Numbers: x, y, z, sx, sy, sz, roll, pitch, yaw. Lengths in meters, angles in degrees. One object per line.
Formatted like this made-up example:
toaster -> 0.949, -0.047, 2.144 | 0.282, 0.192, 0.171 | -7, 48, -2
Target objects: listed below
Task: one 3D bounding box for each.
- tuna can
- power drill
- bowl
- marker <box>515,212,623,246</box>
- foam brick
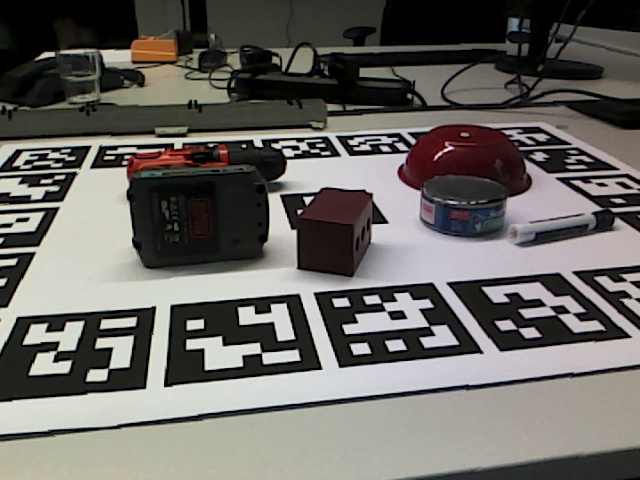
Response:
tuna can -> 0.153, -0.034, 0.634 | 0.086, 0.033, 0.086 | 3, 26, -2
power drill -> -0.112, -0.046, 0.632 | 0.184, 0.057, 0.188 | -1, 24, -13
bowl -> 0.177, -0.094, 0.757 | 0.162, 0.055, 0.162 | -3, 20, 1
marker -> 0.246, -0.011, 0.605 | 0.120, 0.019, 0.020 | -8, 29, -19
foam brick -> 0.023, 0.000, 0.554 | 0.051, 0.052, 0.078 | 8, 28, 11
